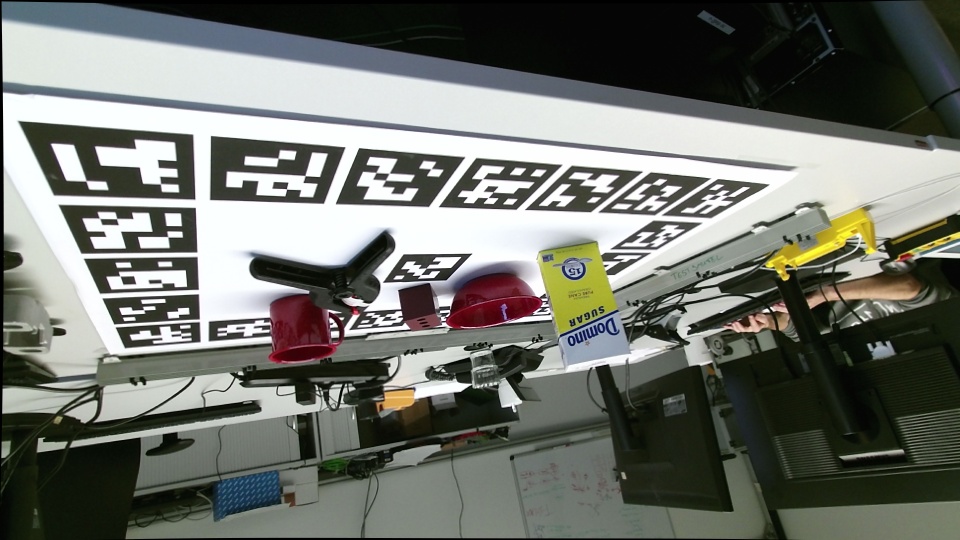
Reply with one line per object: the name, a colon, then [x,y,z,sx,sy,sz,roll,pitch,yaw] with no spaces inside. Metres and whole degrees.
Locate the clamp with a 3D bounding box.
clamp: [-0.176,0.022,0.701,0.166,0.036,0.203,-13,156,-7]

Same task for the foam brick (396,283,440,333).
foam brick: [-0.097,0.062,0.848,0.053,0.051,0.078,-14,156,-3]

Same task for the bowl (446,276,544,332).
bowl: [0.019,0.054,0.878,0.162,0.055,0.162,-11,156,-5]

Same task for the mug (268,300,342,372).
mug: [-0.253,0.097,0.780,0.093,0.081,0.117,-29,149,31]

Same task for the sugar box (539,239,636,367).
sugar box: [0.153,0.046,0.783,0.093,0.175,0.045,-11,155,-4]
